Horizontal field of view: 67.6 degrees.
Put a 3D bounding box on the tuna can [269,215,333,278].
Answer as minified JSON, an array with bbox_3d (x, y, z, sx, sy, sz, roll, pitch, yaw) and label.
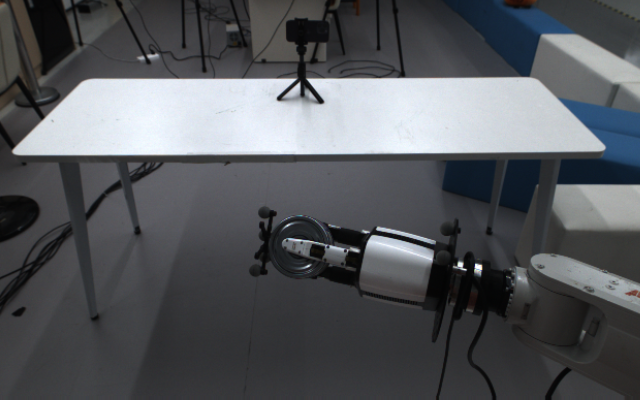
[{"bbox_3d":[-0.022,0.066,0.648,0.085,0.085,0.034,9,-6,10],"label":"tuna can"}]
